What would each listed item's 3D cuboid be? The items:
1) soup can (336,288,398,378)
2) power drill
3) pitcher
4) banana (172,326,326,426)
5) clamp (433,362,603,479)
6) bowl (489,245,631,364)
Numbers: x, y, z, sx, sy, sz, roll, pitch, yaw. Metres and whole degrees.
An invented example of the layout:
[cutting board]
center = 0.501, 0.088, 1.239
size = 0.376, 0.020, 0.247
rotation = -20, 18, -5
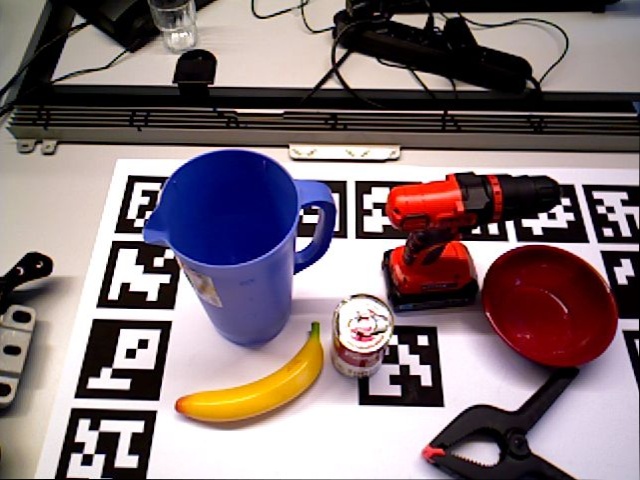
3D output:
[soup can]
center = 0.053, 0.104, 0.614
size = 0.067, 0.104, 0.067
rotation = 0, 51, 0
[power drill]
center = 0.169, -0.014, 0.607
size = 0.183, 0.190, 0.057
rotation = -5, 60, -4
[pitcher]
center = -0.067, 0.015, 0.581
size = 0.186, 0.247, 0.132
rotation = -22, 59, -13
[banana]
center = -0.069, 0.166, 0.618
size = 0.195, 0.039, 0.074
rotation = -23, 54, -14
[clamp]
center = 0.223, 0.217, 0.578
size = 0.202, 0.037, 0.163
rotation = -3, 65, -2
[bowl]
center = 0.277, 0.078, 0.653
size = 0.161, 0.056, 0.159
rotation = -1, 62, 0
